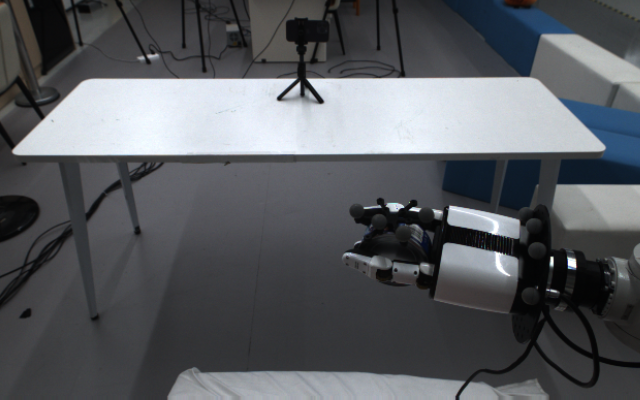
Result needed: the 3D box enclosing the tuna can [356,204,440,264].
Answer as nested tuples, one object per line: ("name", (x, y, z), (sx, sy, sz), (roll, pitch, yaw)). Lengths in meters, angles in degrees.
("tuna can", (0.093, 0.061, 0.583), (0.085, 0.085, 0.034), (12, 39, 14))
